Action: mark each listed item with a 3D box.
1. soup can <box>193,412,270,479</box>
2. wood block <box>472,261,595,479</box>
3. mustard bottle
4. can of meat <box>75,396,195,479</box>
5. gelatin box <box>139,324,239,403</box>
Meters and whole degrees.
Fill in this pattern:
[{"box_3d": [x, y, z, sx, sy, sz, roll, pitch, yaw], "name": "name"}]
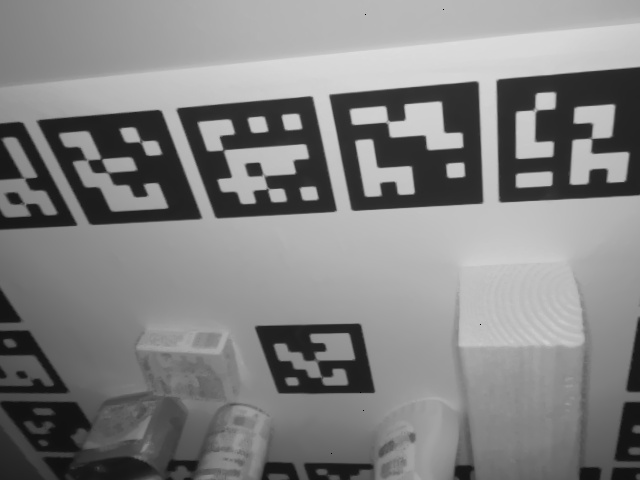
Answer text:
[{"box_3d": [-0.092, 0.235, 0.703, 0.068, 0.103, 0.067, 3, 126, 6], "name": "soup can"}, {"box_3d": [0.179, 0.124, 0.600, 0.090, 0.091, 0.205, -2, 131, 12], "name": "wood block"}, {"box_3d": [0.094, 0.240, 0.641, 0.095, 0.193, 0.058, -25, 120, 26], "name": "mustard bottle"}, {"box_3d": [-0.188, 0.211, 0.722, 0.101, 0.085, 0.058, -14, 123, 21], "name": "can of meat"}, {"box_3d": [-0.125, 0.120, 0.671, 0.089, 0.030, 0.072, 4, 126, 2], "name": "gelatin box"}]
